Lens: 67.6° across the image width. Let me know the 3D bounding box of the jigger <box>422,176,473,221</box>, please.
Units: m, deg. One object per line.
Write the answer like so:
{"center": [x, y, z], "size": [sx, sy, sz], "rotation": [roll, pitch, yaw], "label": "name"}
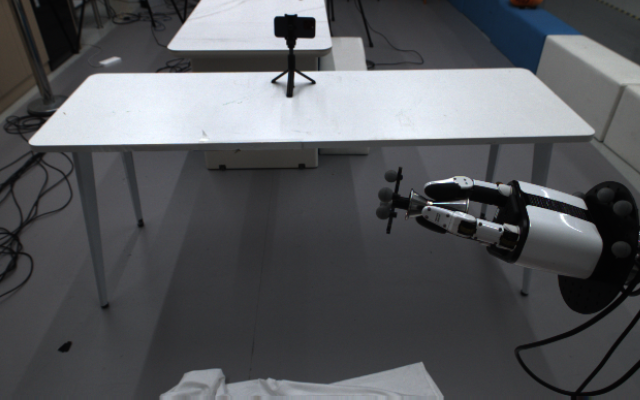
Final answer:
{"center": [0.148, 0.005, 0.590], "size": [0.071, 0.043, 0.043], "rotation": [9, 35, 9], "label": "jigger"}
